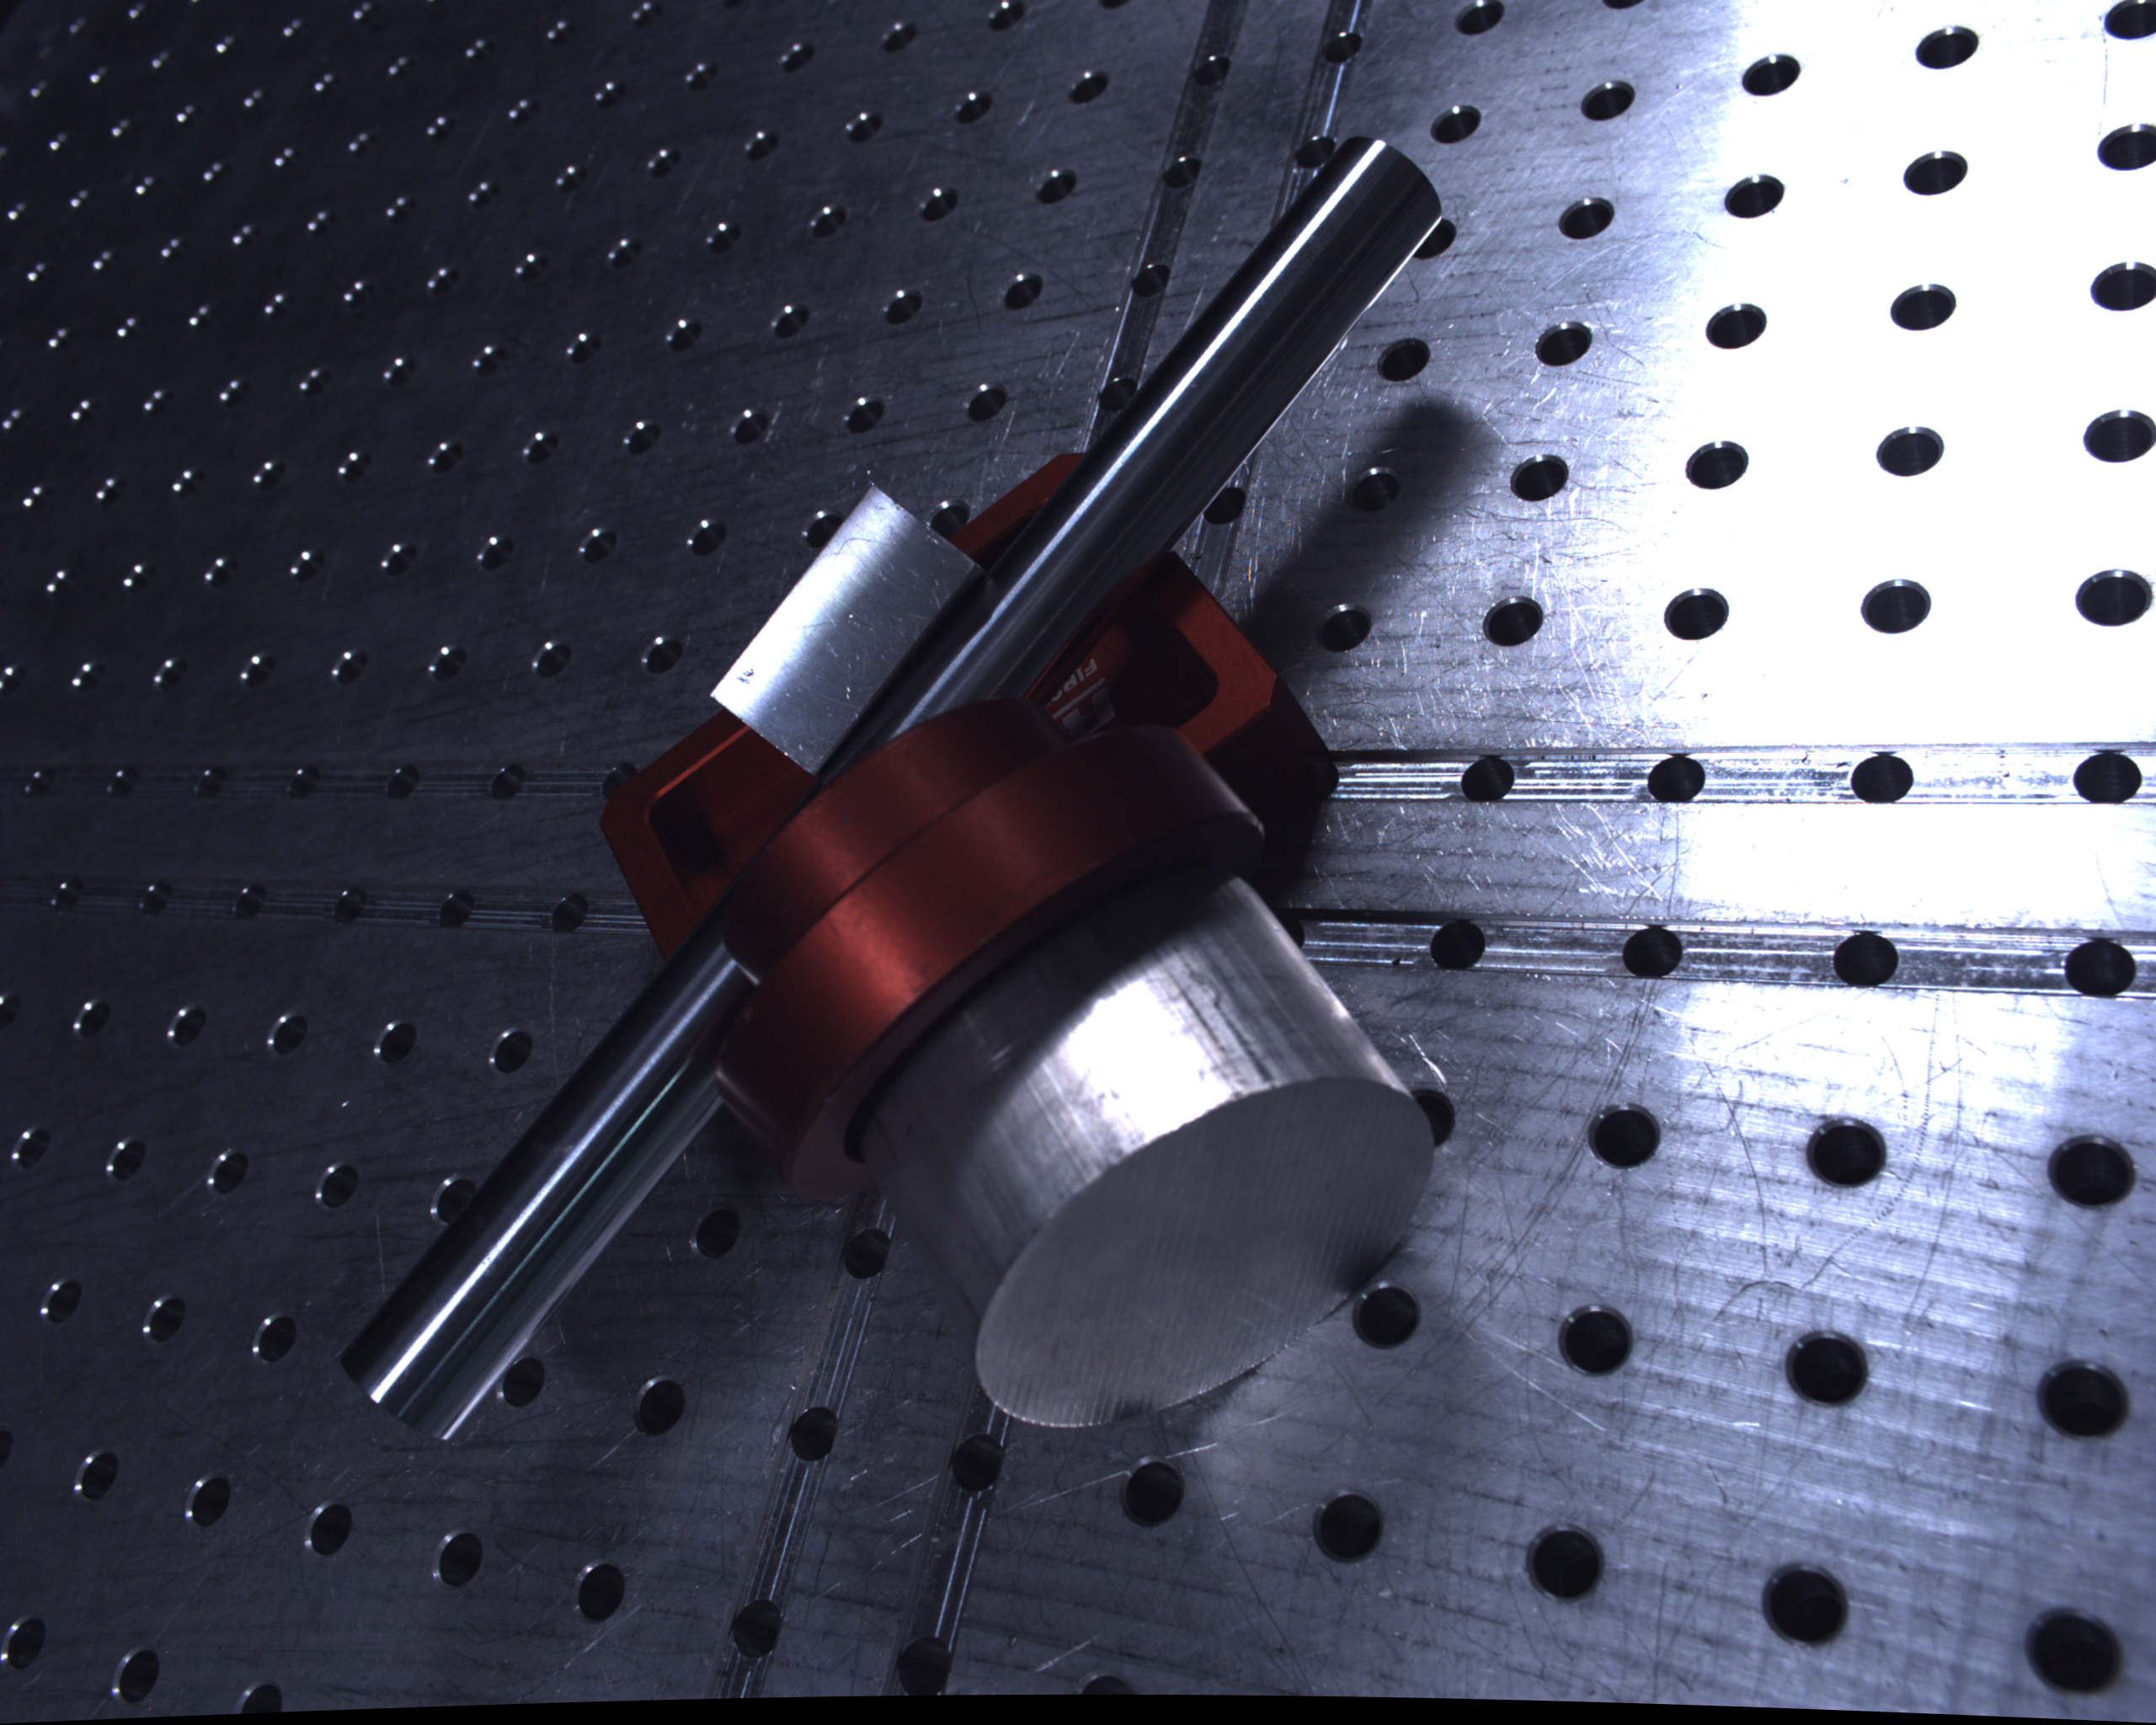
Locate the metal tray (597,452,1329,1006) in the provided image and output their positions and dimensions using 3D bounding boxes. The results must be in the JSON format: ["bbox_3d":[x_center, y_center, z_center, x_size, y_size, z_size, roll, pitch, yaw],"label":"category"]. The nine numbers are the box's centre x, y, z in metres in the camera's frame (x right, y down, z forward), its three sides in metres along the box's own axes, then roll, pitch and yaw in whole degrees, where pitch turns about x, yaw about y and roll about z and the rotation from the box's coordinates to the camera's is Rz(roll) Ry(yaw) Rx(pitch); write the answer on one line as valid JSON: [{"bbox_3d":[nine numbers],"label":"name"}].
[{"bbox_3d":[-0.027,-0.015,0.426,0.130,0.030,0.090,-37,51,3],"label":"metal tray"}]

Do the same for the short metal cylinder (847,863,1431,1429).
[{"bbox_3d":[0.009,0.046,0.337,0.080,0.080,0.050,-37,51,3],"label":"short metal cylinder"}]

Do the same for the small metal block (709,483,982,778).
[{"bbox_3d":[-0.042,-0.044,0.412,0.025,0.050,0.050,38,93,1],"label":"small metal block"}]

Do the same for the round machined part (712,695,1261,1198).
[{"bbox_3d":[-0.020,0.010,0.351,0.098,0.098,0.042,-39,73,1],"label":"round machined part"}]

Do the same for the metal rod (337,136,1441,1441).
[{"bbox_3d":[-0.030,-0.021,0.396,0.025,0.025,0.300,32,79,37],"label":"metal rod"}]
